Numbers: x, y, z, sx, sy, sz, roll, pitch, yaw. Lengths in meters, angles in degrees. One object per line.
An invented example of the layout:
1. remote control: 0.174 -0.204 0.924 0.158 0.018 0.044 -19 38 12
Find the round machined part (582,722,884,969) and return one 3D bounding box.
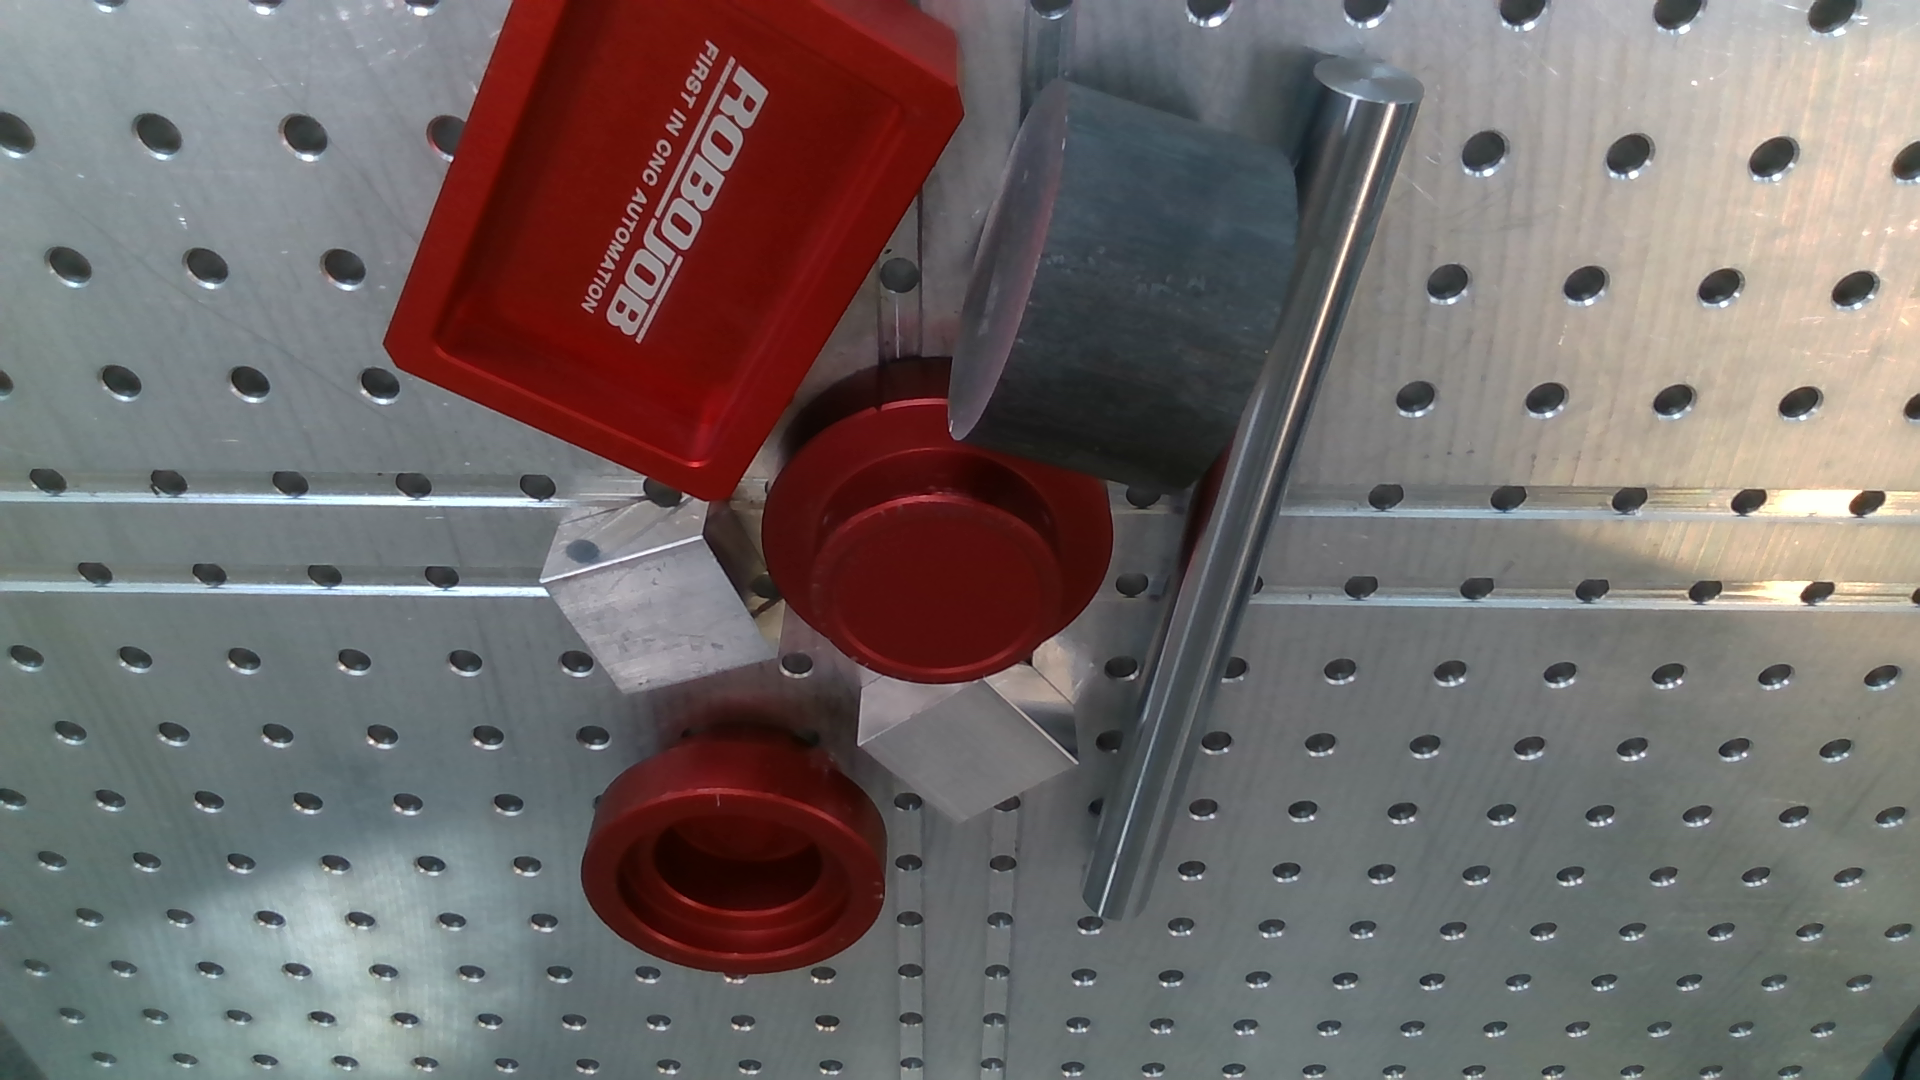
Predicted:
1. round machined part: -0.074 0.099 0.465 0.098 0.042 0.098 0 130 0

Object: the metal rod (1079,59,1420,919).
1. metal rod: 0.073 0.012 0.402 0.025 0.025 0.301 5 130 -4

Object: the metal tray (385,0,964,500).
1. metal tray: -0.068 -0.078 0.322 0.090 0.030 0.130 25 126 -19

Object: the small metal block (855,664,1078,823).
1. small metal block: 0.002 0.059 0.442 0.050 0.025 0.050 -31 124 24

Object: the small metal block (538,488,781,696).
1. small metal block: -0.086 0.015 0.405 0.050 0.025 0.050 -15 129 12

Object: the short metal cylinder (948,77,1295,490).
1. short metal cylinder: 0.033 -0.056 0.309 0.050 0.080 0.080 14 129 -11

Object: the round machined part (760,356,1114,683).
1. round machined part: -0.006 0.002 0.382 0.098 0.042 0.098 -2 130 -2
